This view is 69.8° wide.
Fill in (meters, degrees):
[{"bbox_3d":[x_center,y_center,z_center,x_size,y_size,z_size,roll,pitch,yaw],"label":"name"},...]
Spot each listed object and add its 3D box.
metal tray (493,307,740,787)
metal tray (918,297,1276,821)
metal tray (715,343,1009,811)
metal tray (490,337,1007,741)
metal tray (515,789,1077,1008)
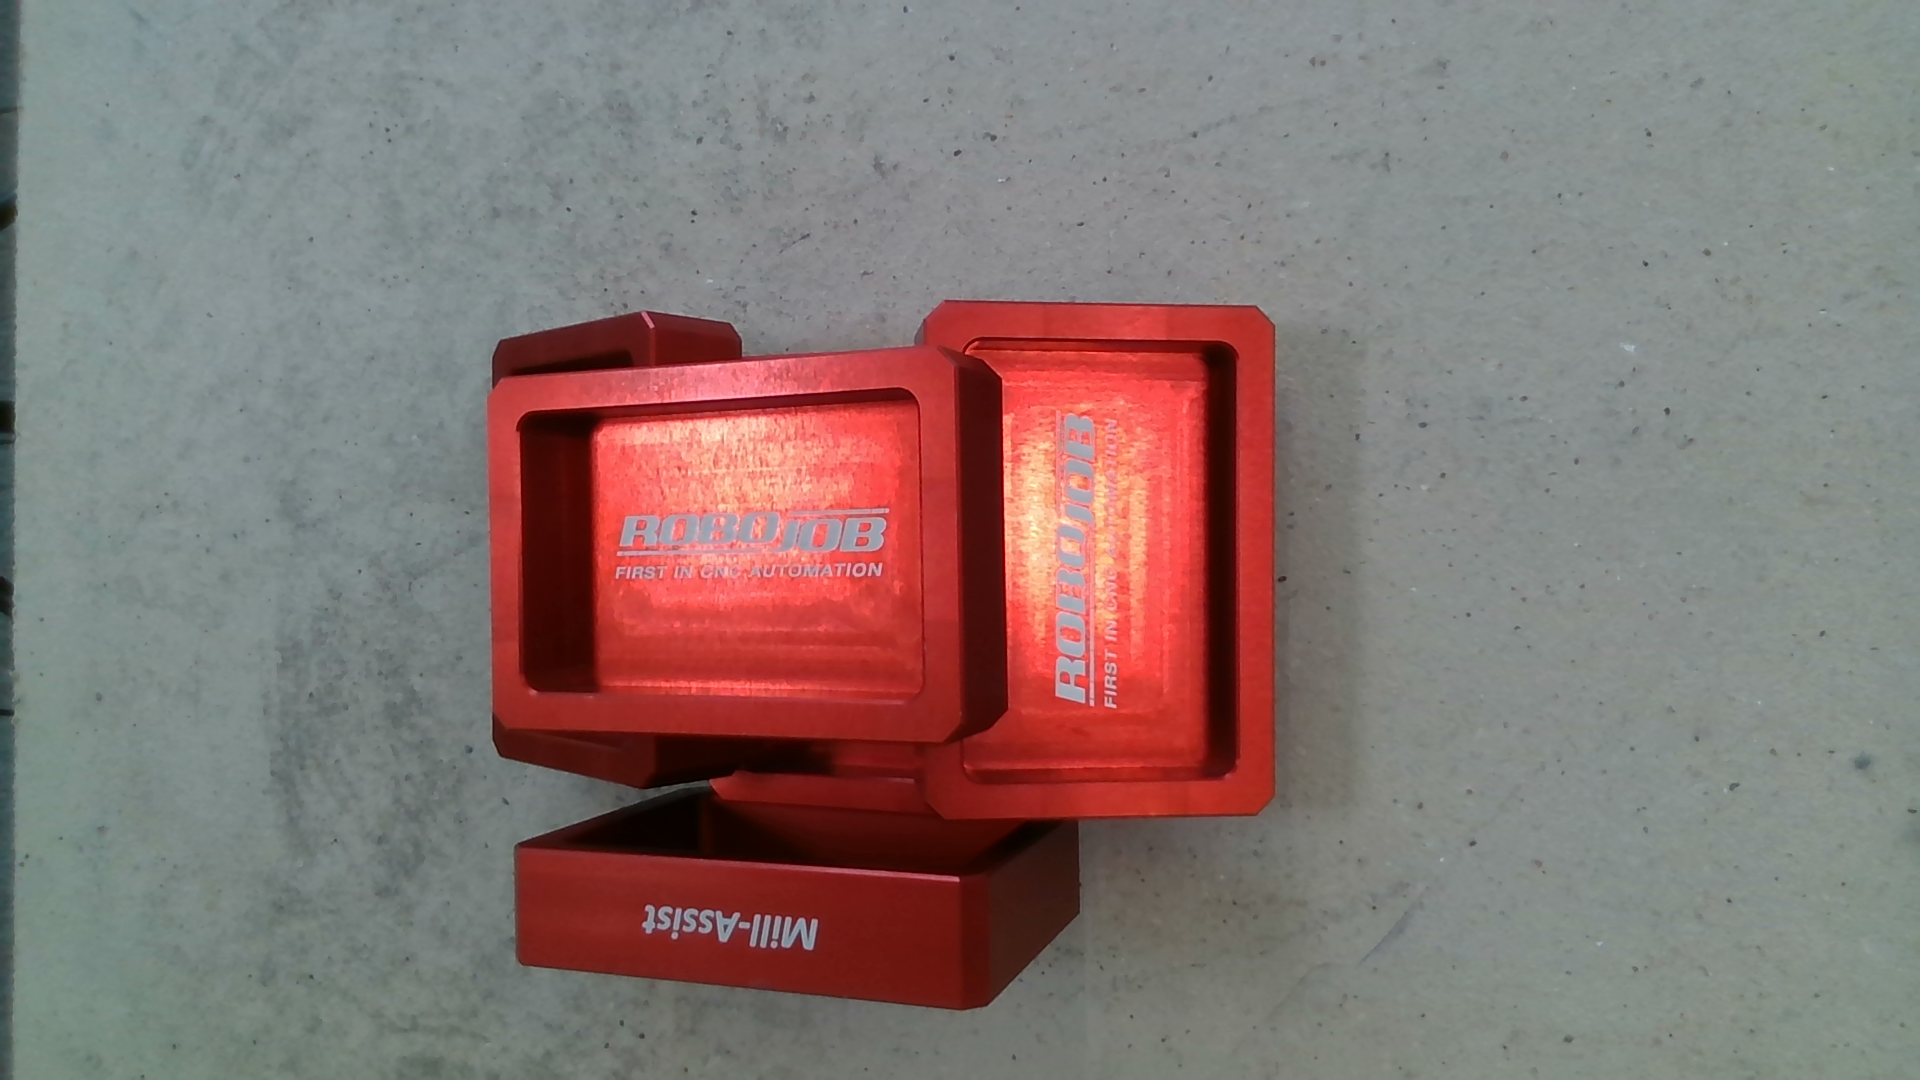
[{"bbox_3d":[-0.104,0.002,0.411,0.090,0.030,0.130,0,91,45],"label":"metal tray"},{"bbox_3d":[0.034,0.005,0.360,0.090,0.030,0.130,0,91,-7],"label":"metal tray"},{"bbox_3d":[-0.027,0.010,0.399,0.090,0.030,0.130,-1,90,22],"label":"metal tray"},{"bbox_3d":[-0.055,0.001,0.342,0.130,0.030,0.090,-1,90,22],"label":"metal tray"},{"bbox_3d":[-0.042,0.092,0.375,0.130,0.090,0.030,-1,90,21],"label":"metal tray"}]
